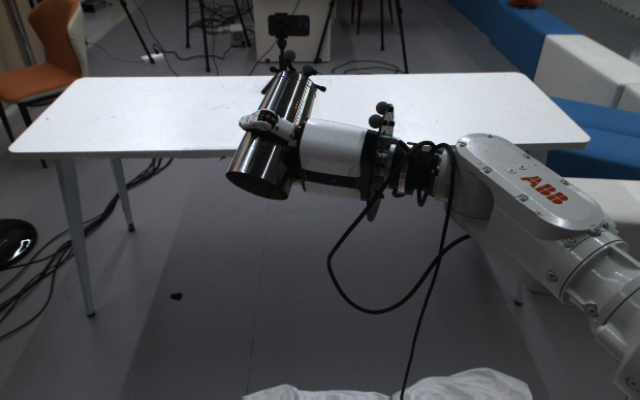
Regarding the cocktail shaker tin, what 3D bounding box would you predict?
[{"bbox_3d":[-0.063,-0.095,0.691,0.093,0.093,0.170,14,73,17],"label":"cocktail shaker tin"}]
